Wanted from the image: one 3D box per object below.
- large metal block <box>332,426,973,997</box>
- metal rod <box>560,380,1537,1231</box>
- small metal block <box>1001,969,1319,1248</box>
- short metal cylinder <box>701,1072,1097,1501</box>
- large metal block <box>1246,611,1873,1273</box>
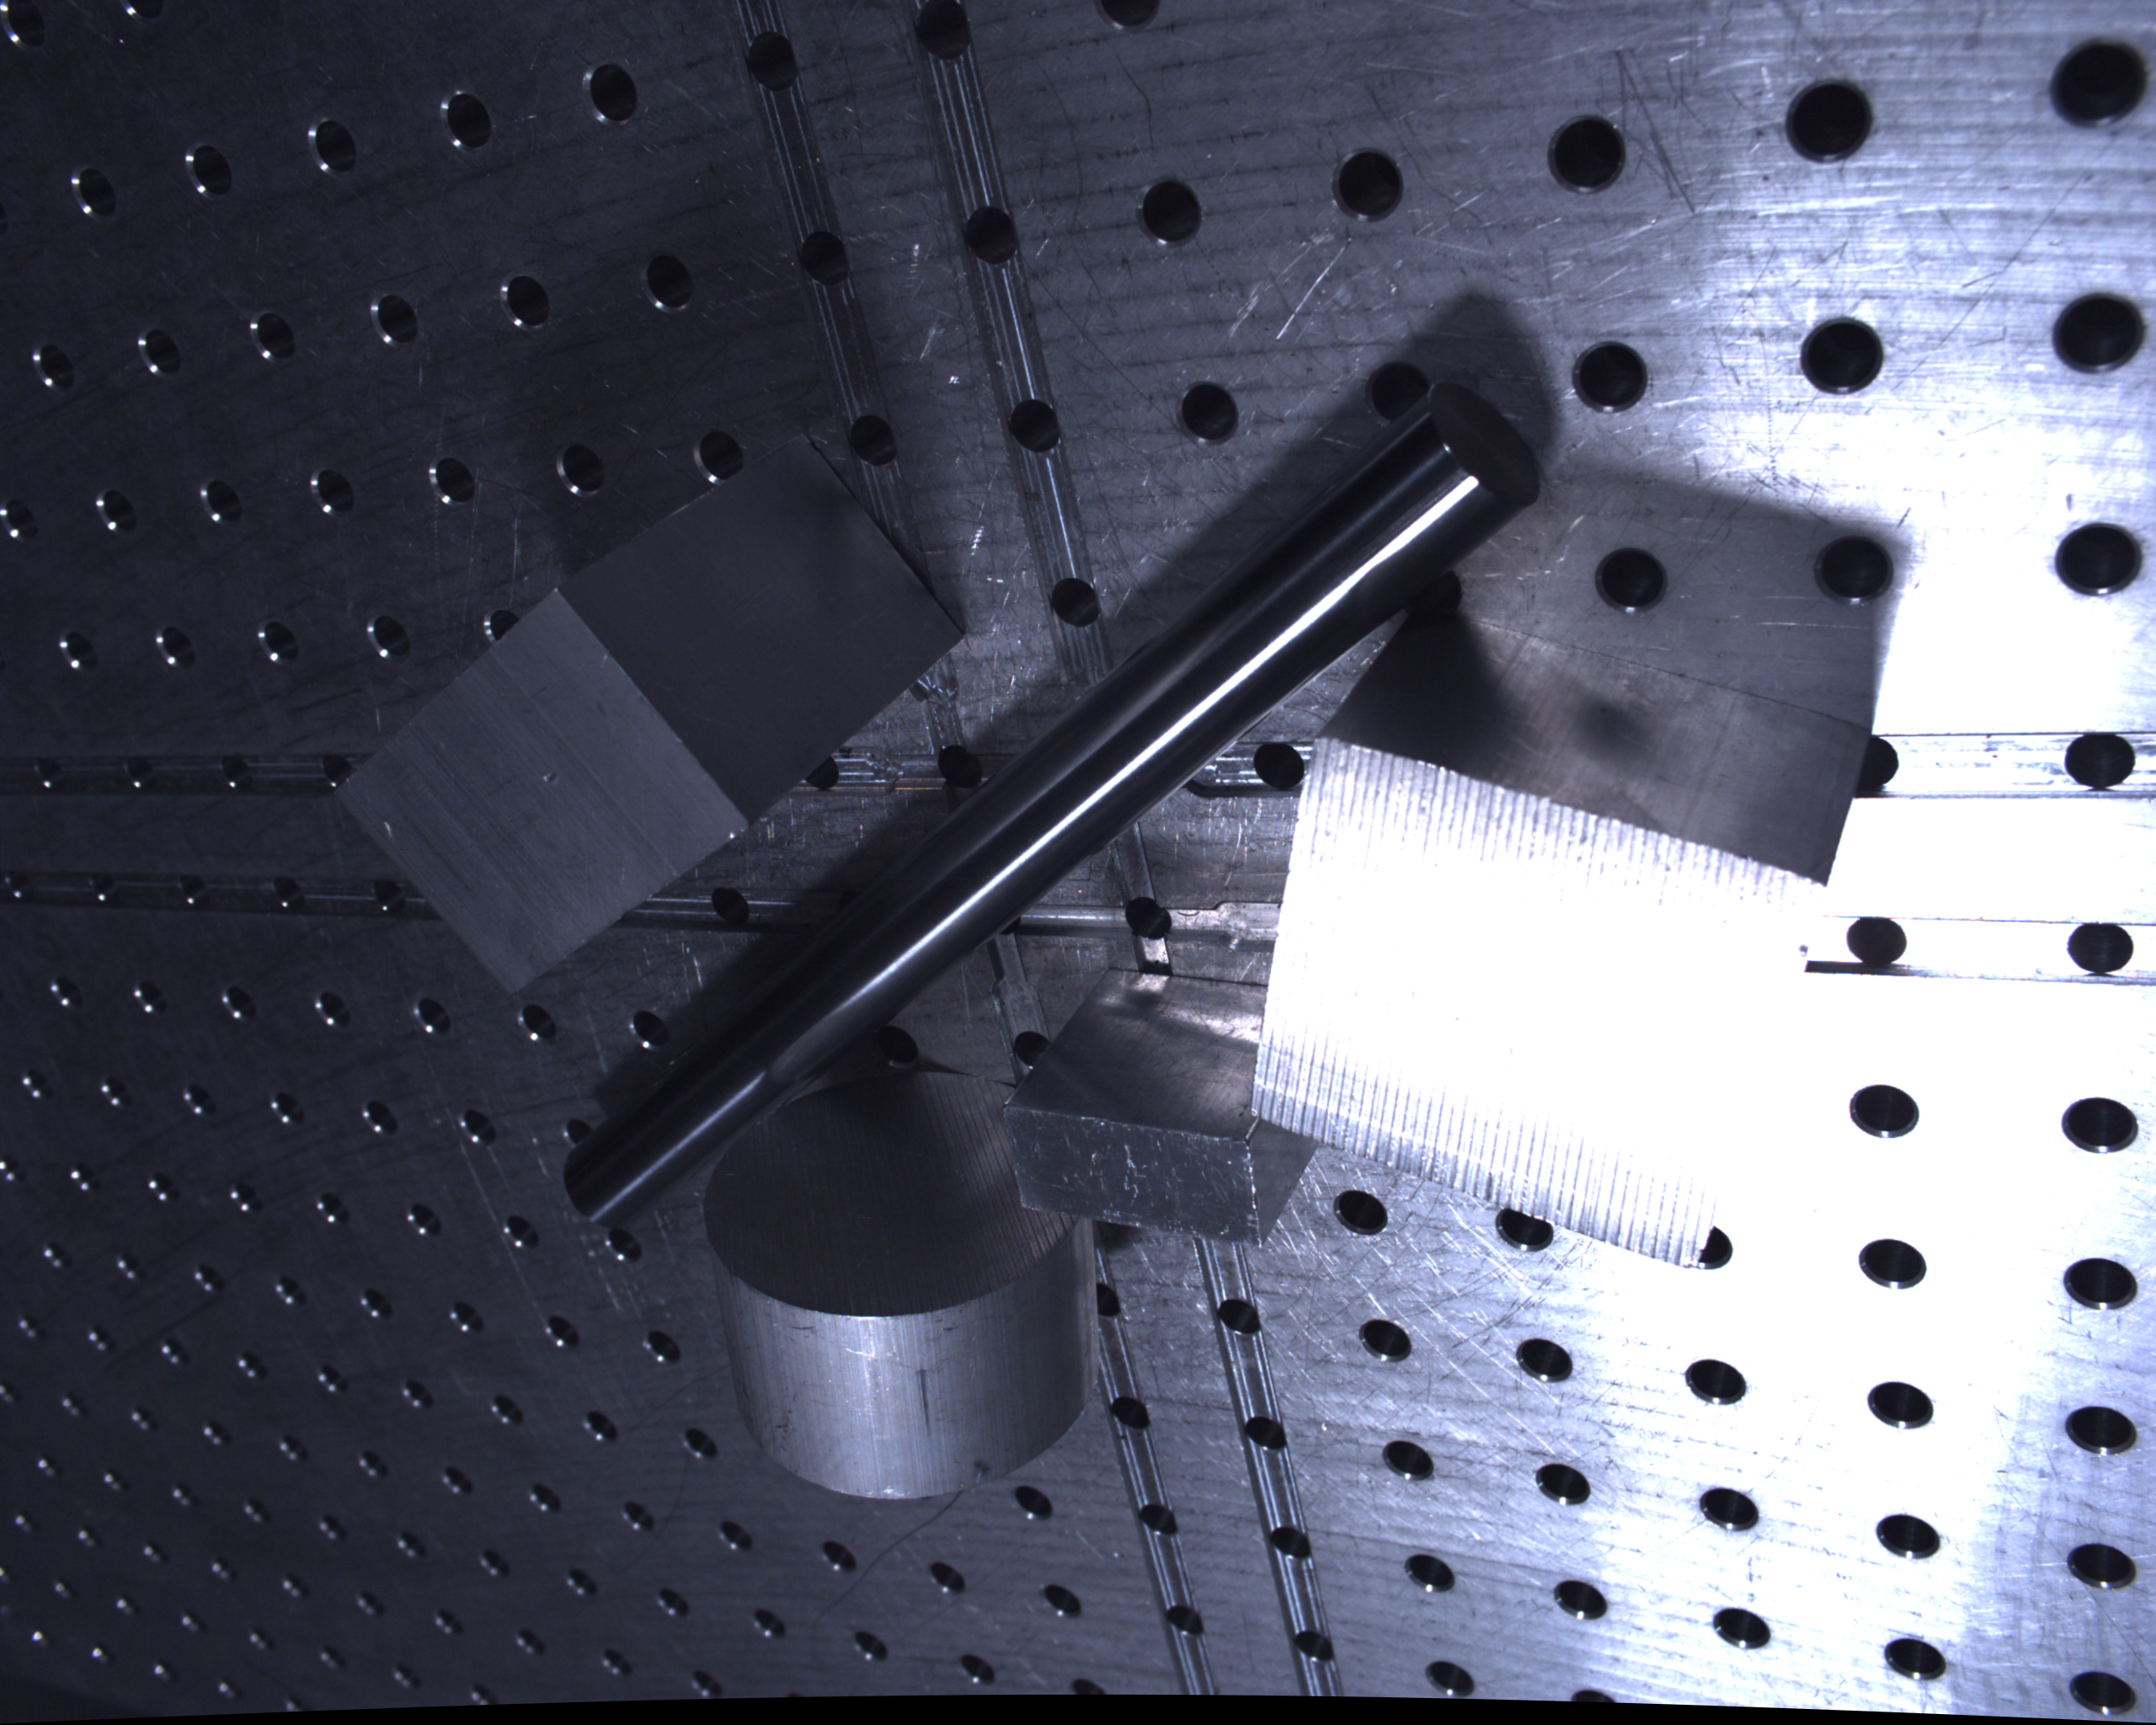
[{"bbox_3d":[-0.080,-0.029,0.399,0.080,0.080,0.050,-32,101,38],"label":"large metal block"},{"bbox_3d":[-0.026,0.006,0.427,0.025,0.025,0.299,47,129,-5],"label":"metal rod"},{"bbox_3d":[0.020,0.047,0.413,0.050,0.050,0.025,5,121,25],"label":"small metal block"},{"bbox_3d":[-0.037,0.089,0.448,0.080,0.080,0.050,11,123,22],"label":"short metal cylinder"},{"bbox_3d":[0.080,0.012,0.356,0.080,0.050,0.079,18,125,17],"label":"large metal block"}]
